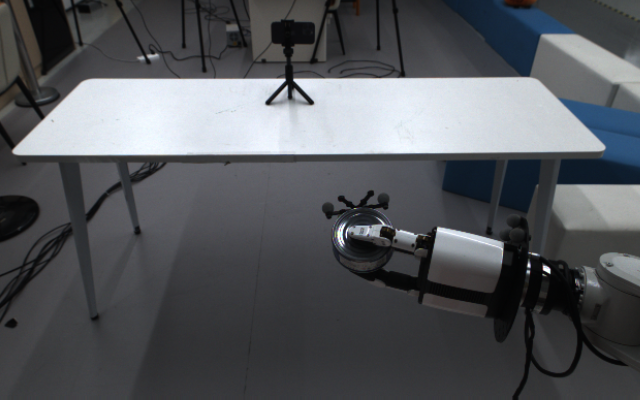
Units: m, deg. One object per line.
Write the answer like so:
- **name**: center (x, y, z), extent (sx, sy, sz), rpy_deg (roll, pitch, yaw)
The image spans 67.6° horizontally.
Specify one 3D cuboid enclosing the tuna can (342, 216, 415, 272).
- **tuna can**: center (0.062, 0.060, 0.654), extent (0.085, 0.034, 0.085), rpy_deg (-3, 60, 5)
